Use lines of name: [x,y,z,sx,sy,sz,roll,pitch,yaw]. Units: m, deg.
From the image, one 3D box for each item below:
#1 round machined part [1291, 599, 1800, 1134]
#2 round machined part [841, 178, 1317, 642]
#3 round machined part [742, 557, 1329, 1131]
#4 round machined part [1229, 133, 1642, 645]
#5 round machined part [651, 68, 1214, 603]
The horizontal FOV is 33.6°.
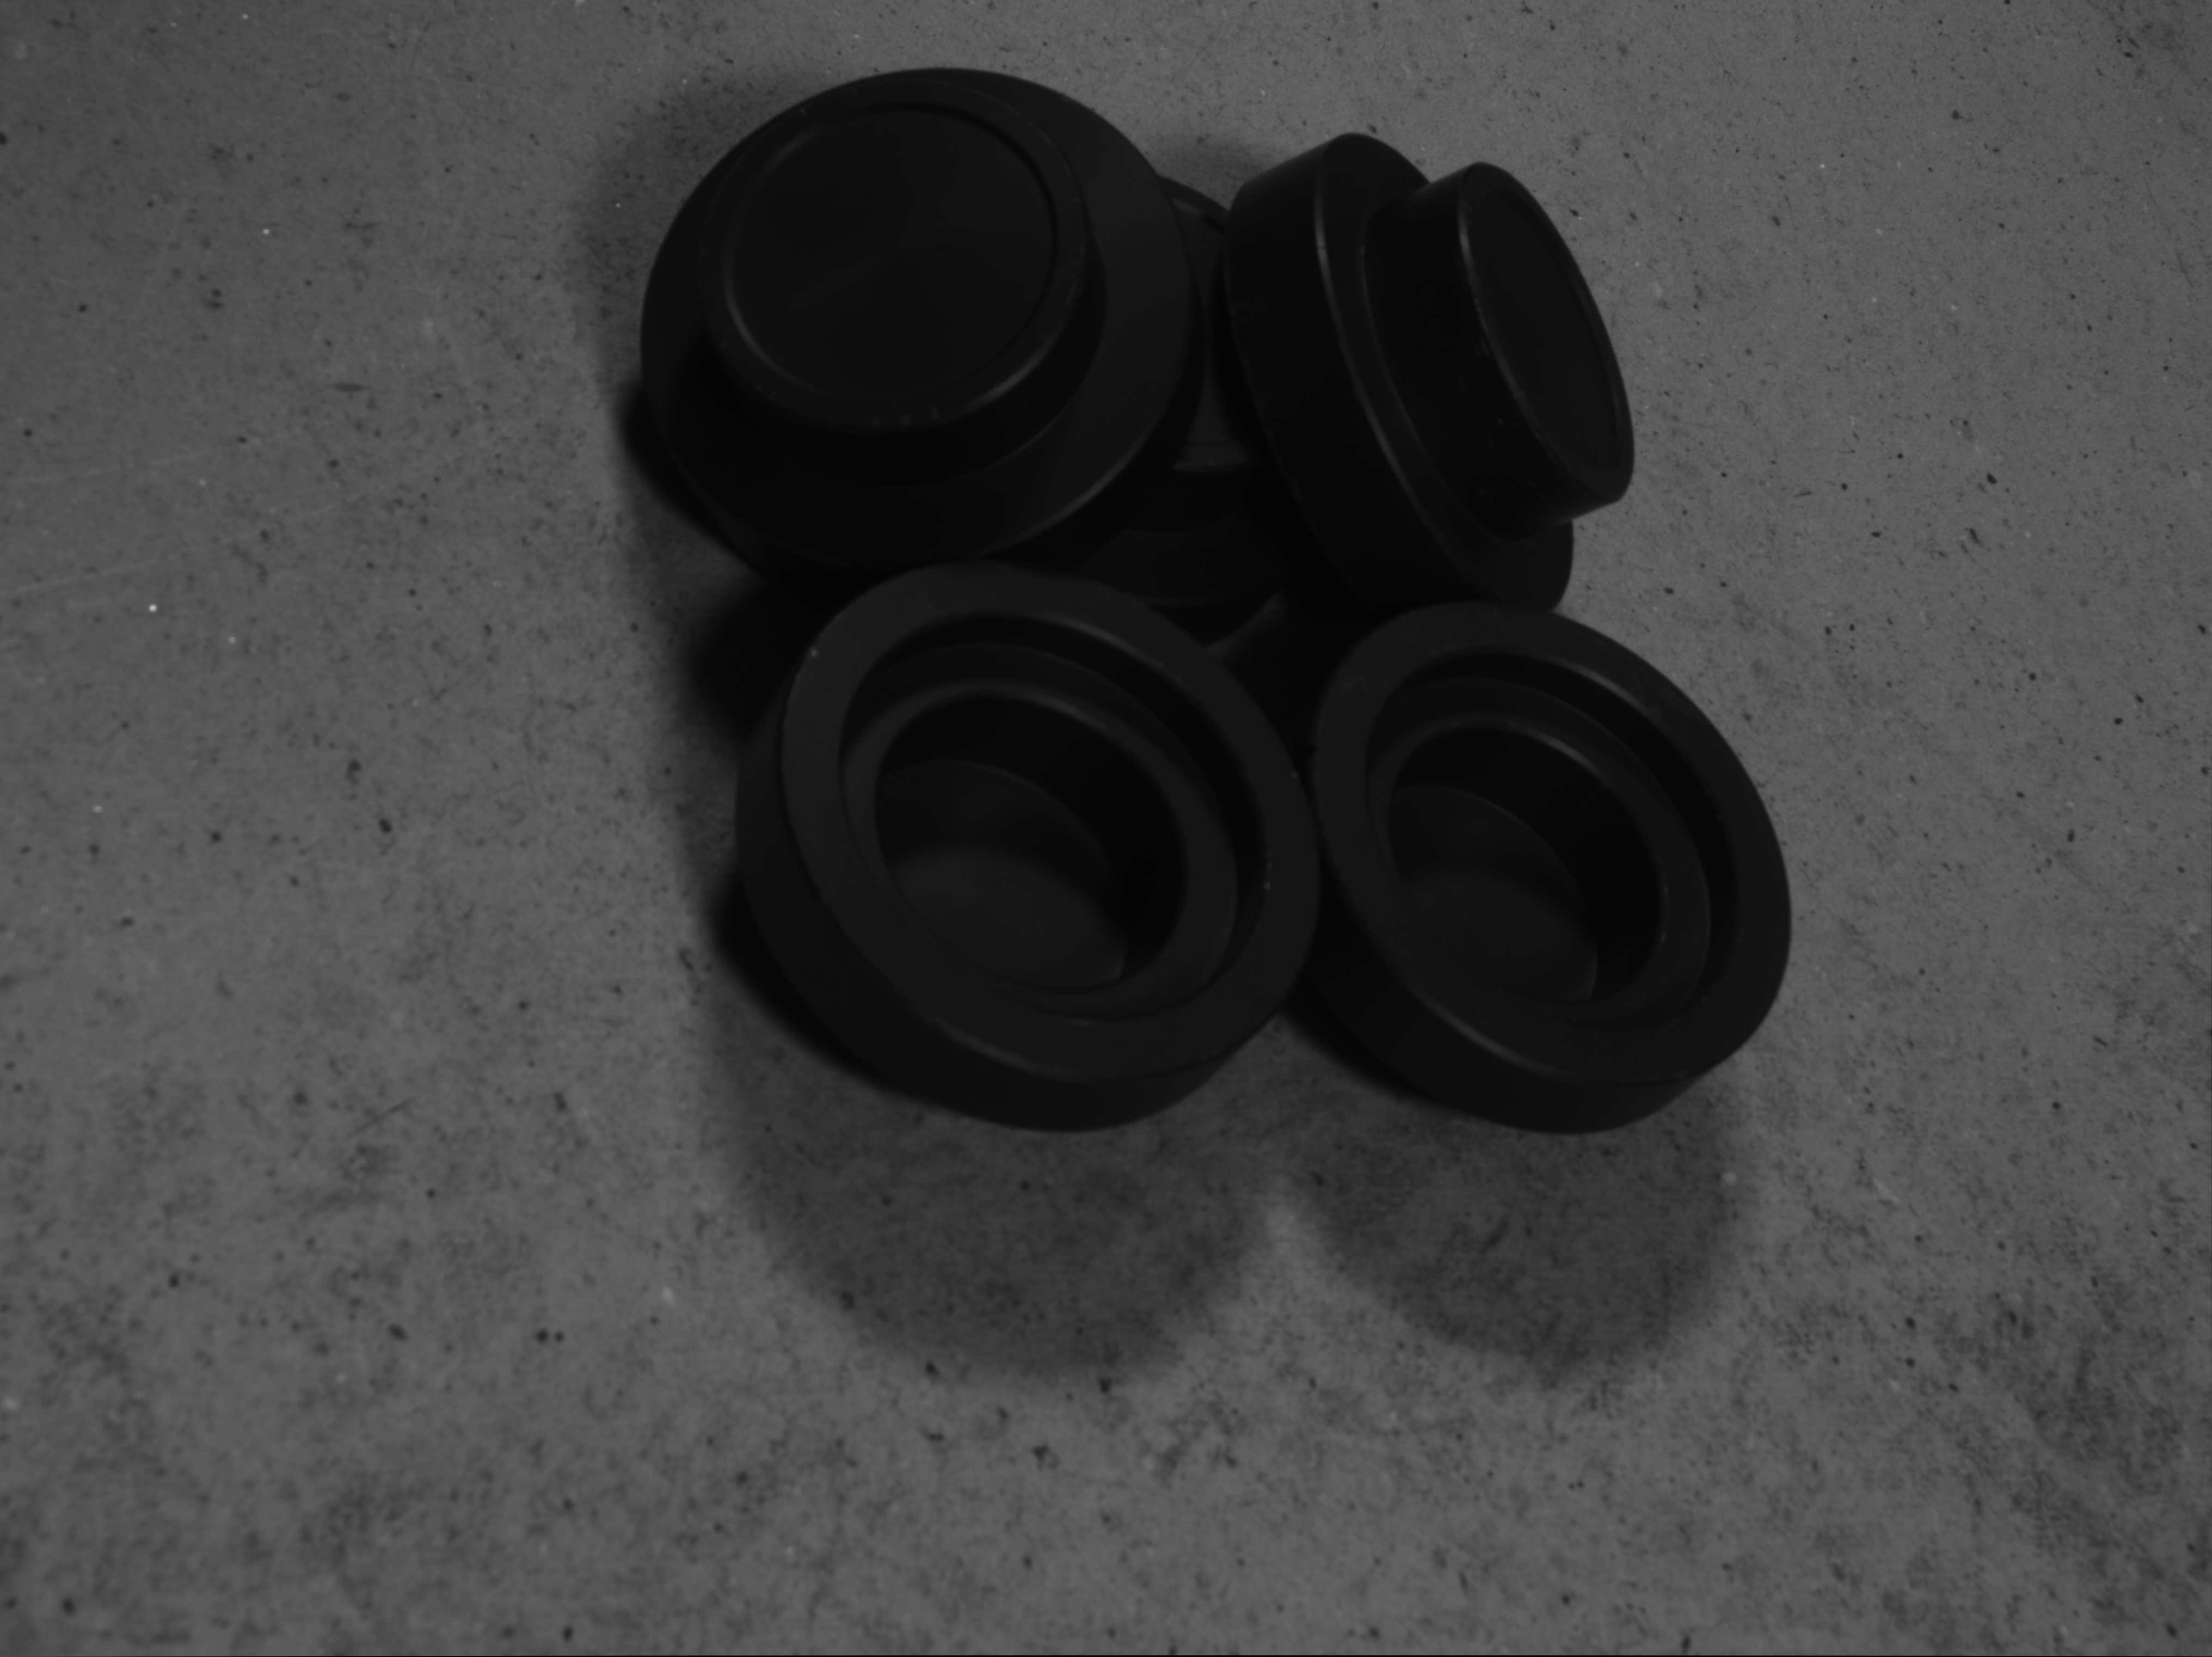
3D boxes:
round machined part: [0.073,0.011,0.661,0.098,0.042,0.098,14,56,-21]
round machined part: [0.003,-0.084,0.681,0.098,0.042,0.098,14,56,-21]
round machined part: [-0.015,0.007,0.617,0.098,0.042,0.098,14,56,-21]
round machined part: [0.067,-0.086,0.689,0.098,0.042,0.098,41,38,-42]
round machined part: [-0.032,-0.090,0.637,0.098,0.042,0.098,-3,69,7]
